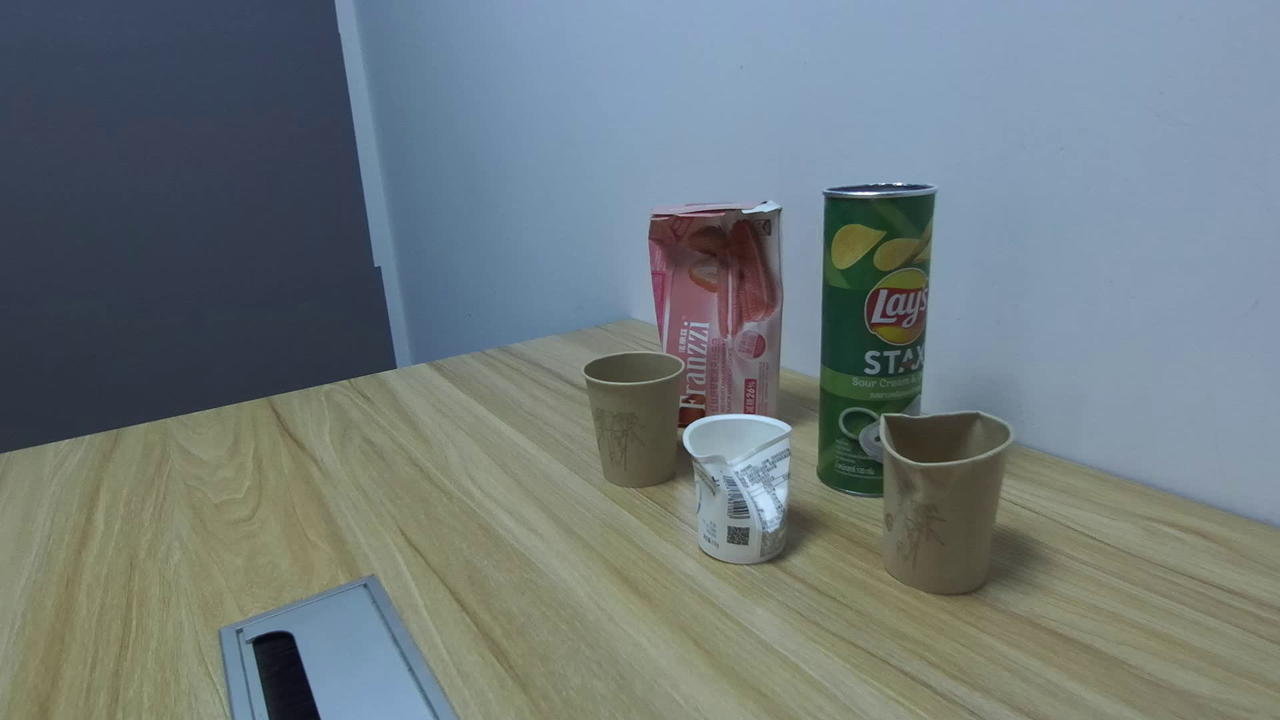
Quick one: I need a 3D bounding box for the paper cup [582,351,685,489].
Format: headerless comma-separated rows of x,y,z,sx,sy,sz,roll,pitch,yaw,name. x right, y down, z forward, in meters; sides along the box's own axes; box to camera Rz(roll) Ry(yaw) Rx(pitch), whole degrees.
-0.002,0.044,0.513,0.075,0.082,0.075,-2,17,1,paper cup

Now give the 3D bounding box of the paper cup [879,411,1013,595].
0.164,0.078,0.382,0.071,0.084,0.066,-3,17,0,paper cup

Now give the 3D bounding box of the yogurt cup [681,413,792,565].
0.059,0.077,0.422,0.067,0.070,0.067,-4,18,2,yogurt cup

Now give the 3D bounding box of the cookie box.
0.062,-0.034,0.584,0.118,0.184,0.055,2,18,20,cookie box

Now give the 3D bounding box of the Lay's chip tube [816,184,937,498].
0.156,-0.014,0.472,0.071,0.202,0.071,-3,18,1,Lay's chip tube
